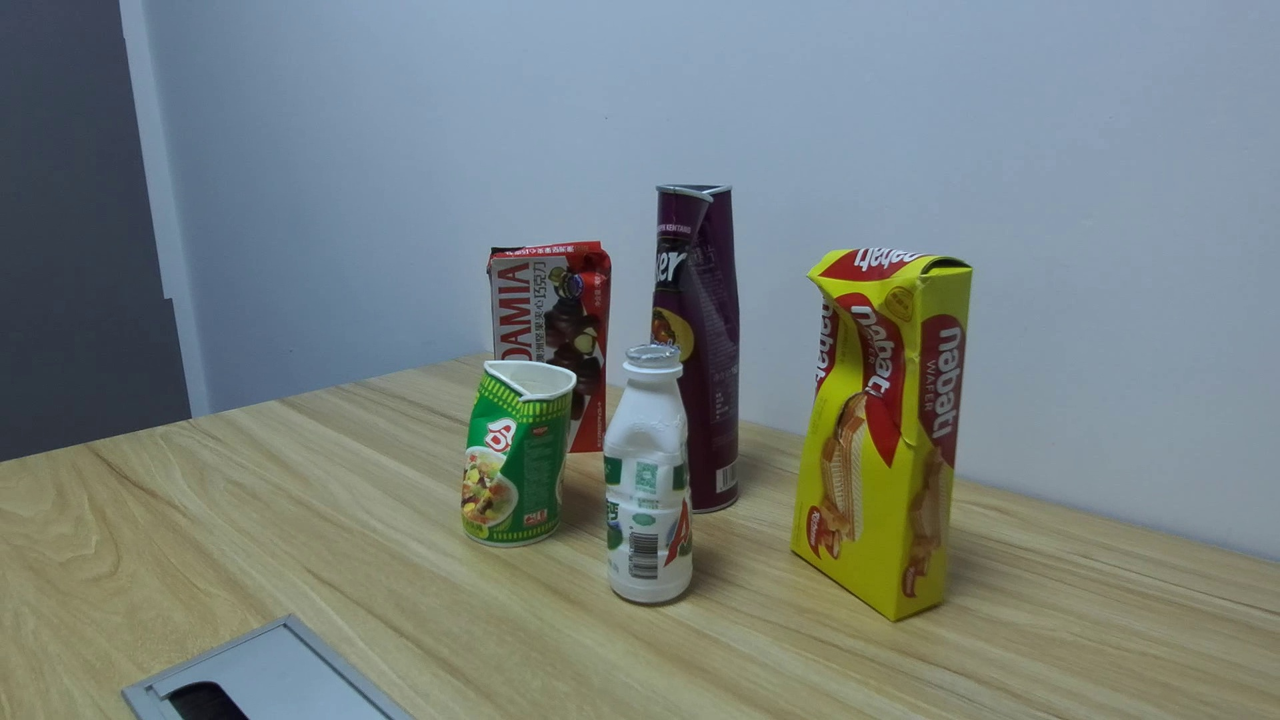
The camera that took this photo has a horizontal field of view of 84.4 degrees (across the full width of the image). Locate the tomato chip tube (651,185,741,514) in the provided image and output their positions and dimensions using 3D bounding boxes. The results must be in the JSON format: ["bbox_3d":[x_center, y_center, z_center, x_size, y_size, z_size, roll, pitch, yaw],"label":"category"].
[{"bbox_3d":[0.042,-0.009,0.524,0.078,0.235,0.076,-3,15,-17],"label":"tomato chip tube"}]

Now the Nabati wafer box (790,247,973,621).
[{"bbox_3d":[0.134,0.036,0.415,0.042,0.204,0.106,-8,17,-26],"label":"Nabati wafer box"}]

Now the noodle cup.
[{"bbox_3d":[-0.087,0.064,0.490,0.075,0.122,0.083,9,7,0],"label":"noodle cup"}]

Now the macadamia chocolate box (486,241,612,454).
[{"bbox_3d":[-0.075,-0.007,0.606,0.103,0.187,0.027,-2,15,-5],"label":"macadamia chocolate box"}]

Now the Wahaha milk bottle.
[{"bbox_3d":[0.006,0.065,0.412,0.055,0.149,0.055,-1,15,0],"label":"Wahaha milk bottle"}]
